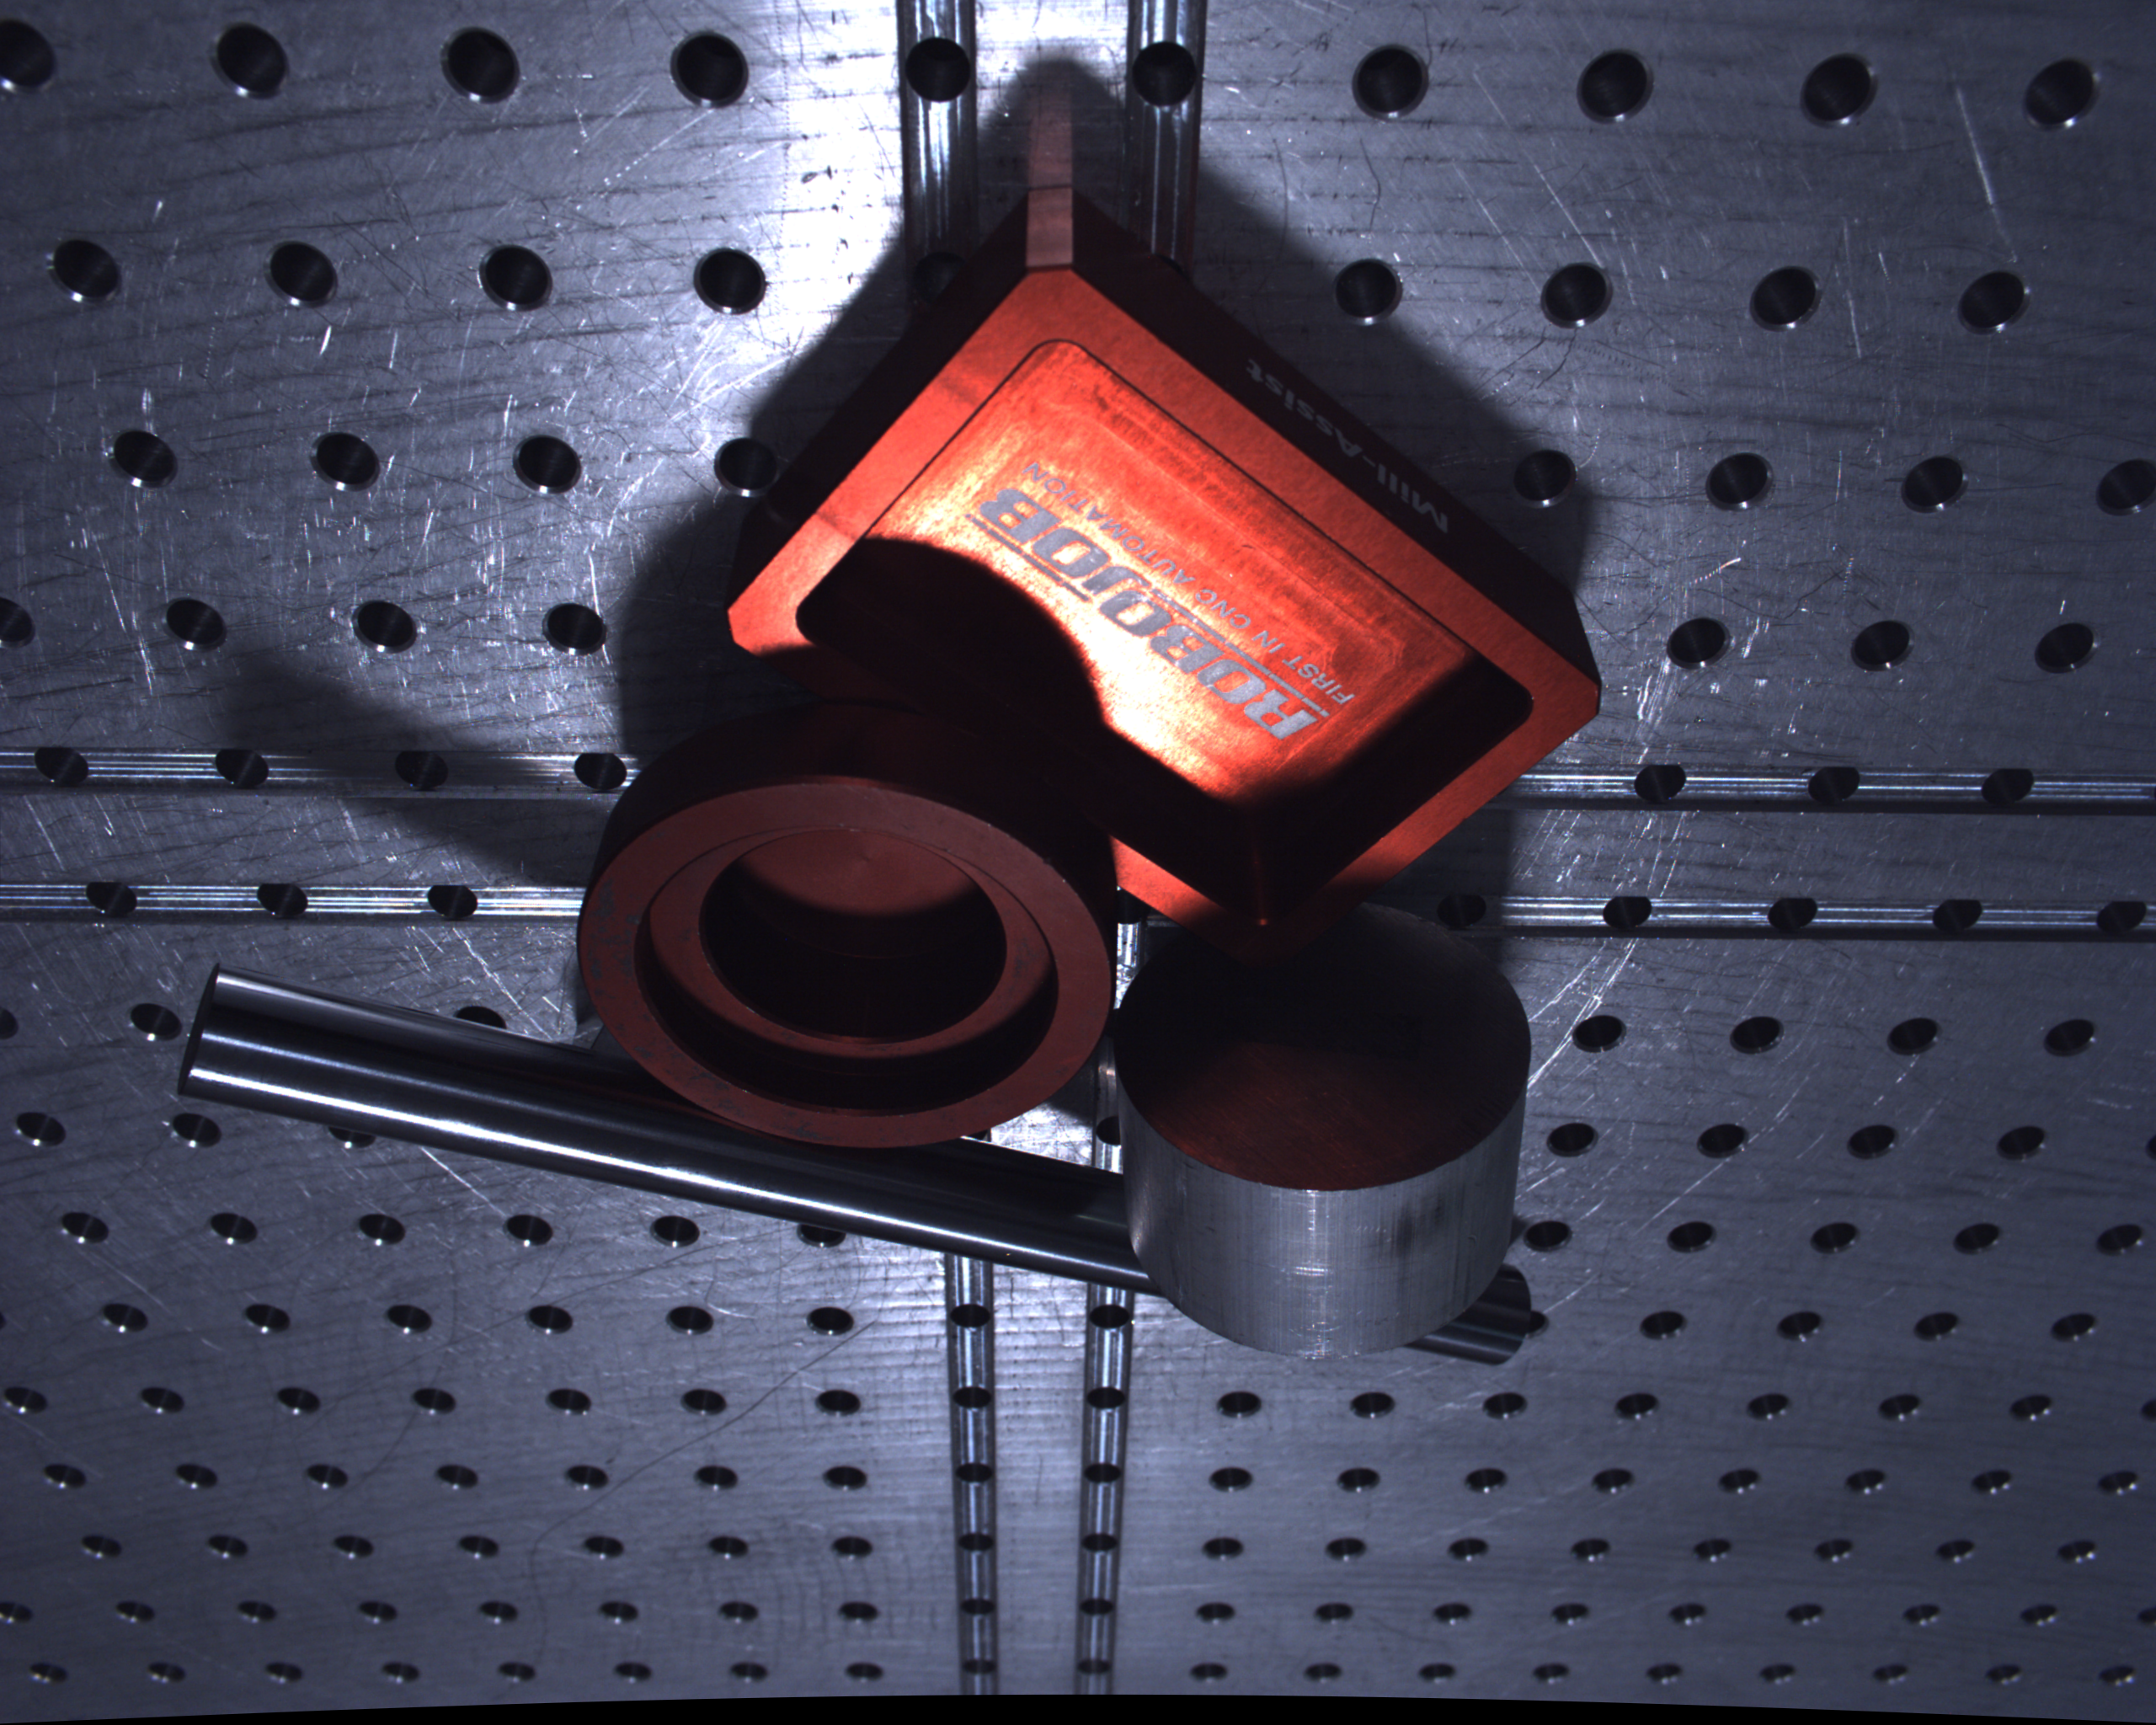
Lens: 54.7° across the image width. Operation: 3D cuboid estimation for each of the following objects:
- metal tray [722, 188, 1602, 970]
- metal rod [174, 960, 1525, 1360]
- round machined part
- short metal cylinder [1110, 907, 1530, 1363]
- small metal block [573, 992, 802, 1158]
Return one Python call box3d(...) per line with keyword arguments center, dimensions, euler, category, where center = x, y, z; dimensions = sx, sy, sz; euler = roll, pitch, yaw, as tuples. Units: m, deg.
box3d(center=(0.016, -0.044, 0.370), dimensions=(0.130, 0.030, 0.090), euler=(33, 122, -25), category="metal tray")
box3d(center=(-0.030, 0.069, 0.444), dimensions=(0.302, 0.025, 0.025), euler=(17, 129, -25), category="metal rod")
box3d(center=(-0.042, 0.008, 0.396), dimensions=(0.099, 0.042, 0.097), euler=(1, 130, 1), category="round machined part")
box3d(center=(0.048, 0.053, 0.419), dimensions=(0.080, 0.080, 0.050), euler=(-3, 130, 2), category="short metal cylinder")
box3d(center=(-0.076, 0.036, 0.441), dimensions=(0.050, 0.025, 0.050), euler=(22, 127, -18), category="small metal block")
